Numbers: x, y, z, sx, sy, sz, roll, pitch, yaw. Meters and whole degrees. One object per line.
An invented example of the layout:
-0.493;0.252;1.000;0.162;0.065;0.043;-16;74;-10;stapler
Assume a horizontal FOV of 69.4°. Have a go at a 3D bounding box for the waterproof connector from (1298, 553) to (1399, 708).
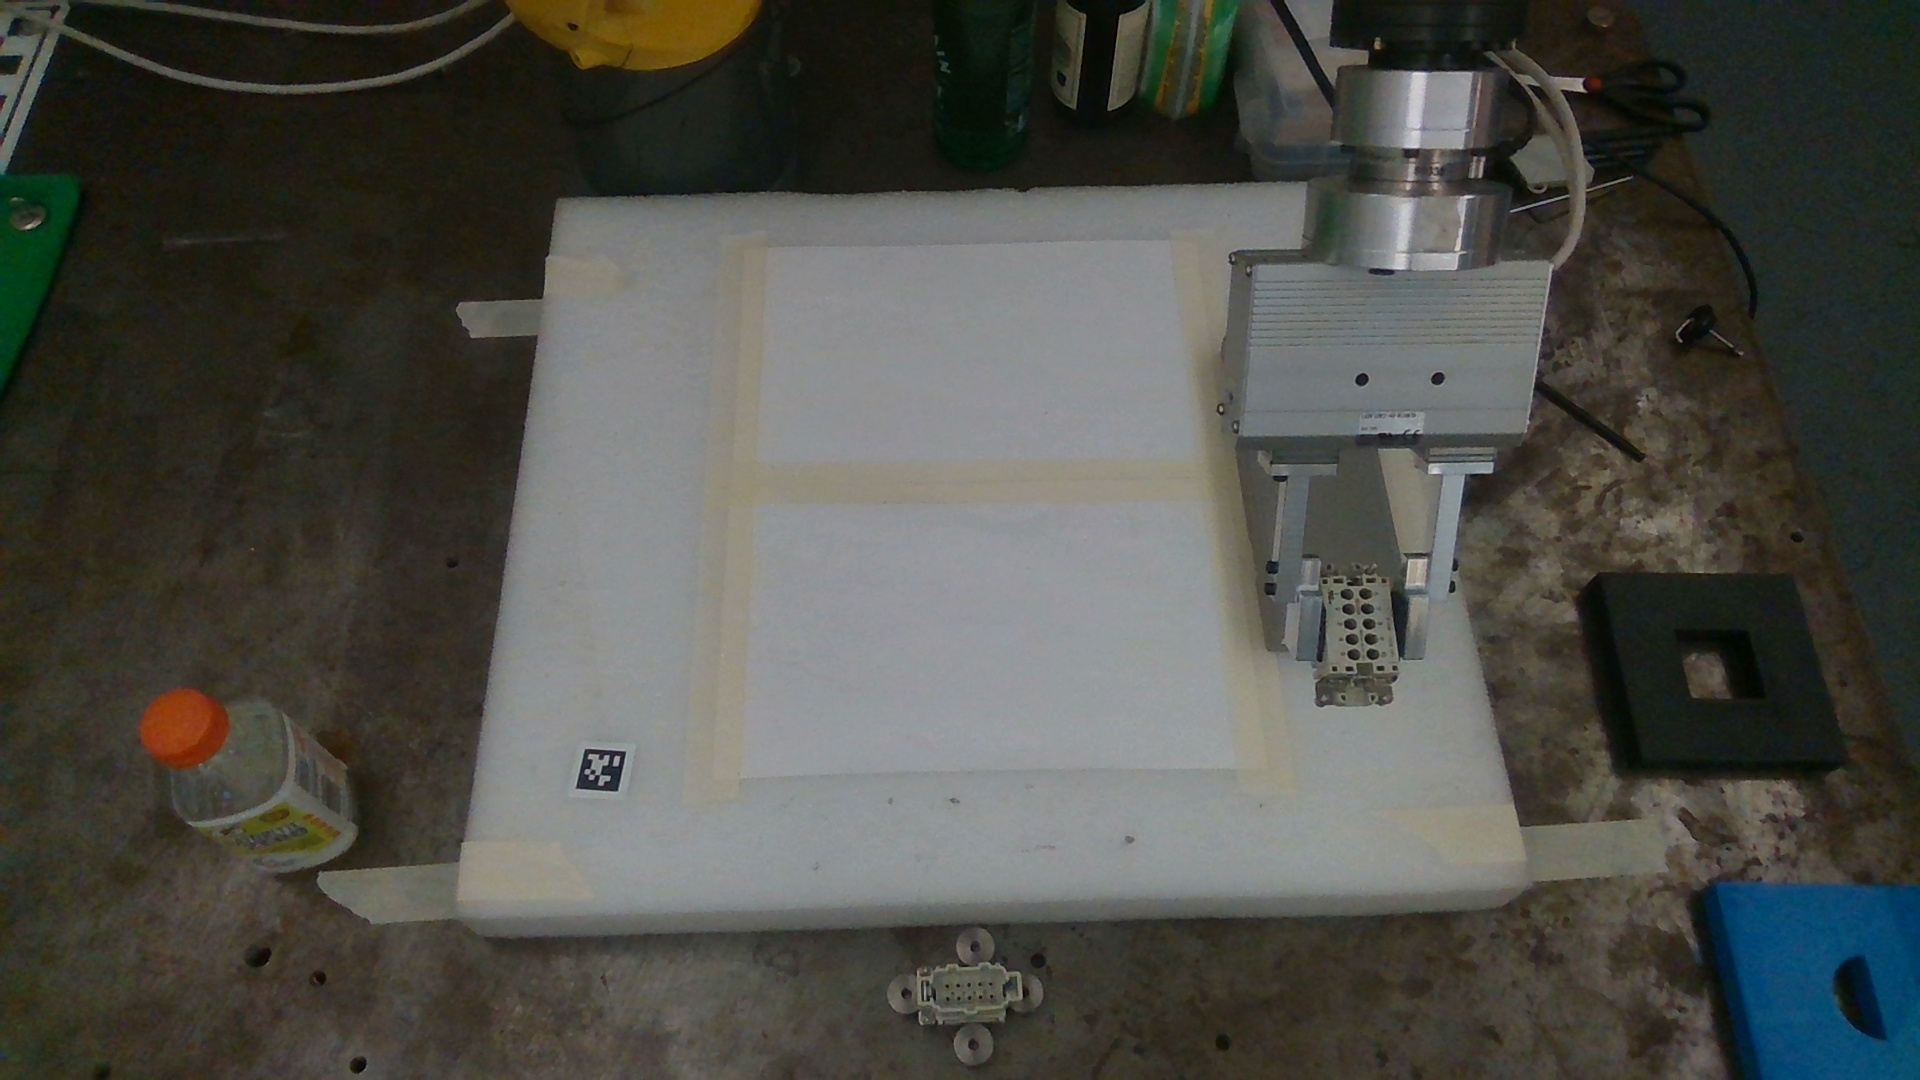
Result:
0.174;0.040;0.625;0.037;0.038;0.069;-4;76;4;waterproof connector
